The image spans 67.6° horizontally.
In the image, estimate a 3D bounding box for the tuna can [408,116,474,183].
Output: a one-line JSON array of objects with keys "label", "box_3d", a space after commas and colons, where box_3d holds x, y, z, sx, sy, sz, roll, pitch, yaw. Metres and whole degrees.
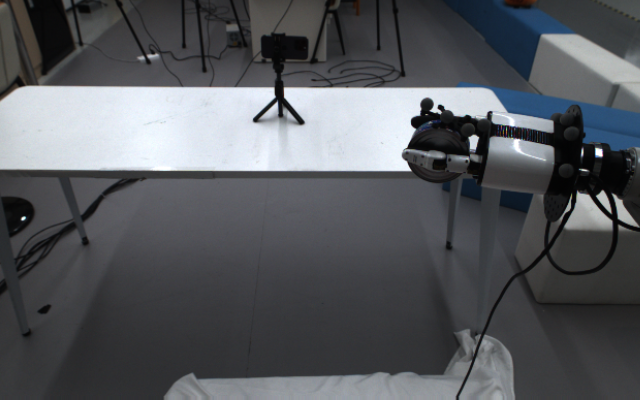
[{"label": "tuna can", "box_3d": [0.169, -0.071, 0.684, 0.085, 0.085, 0.034, 12, 33, 14]}]
